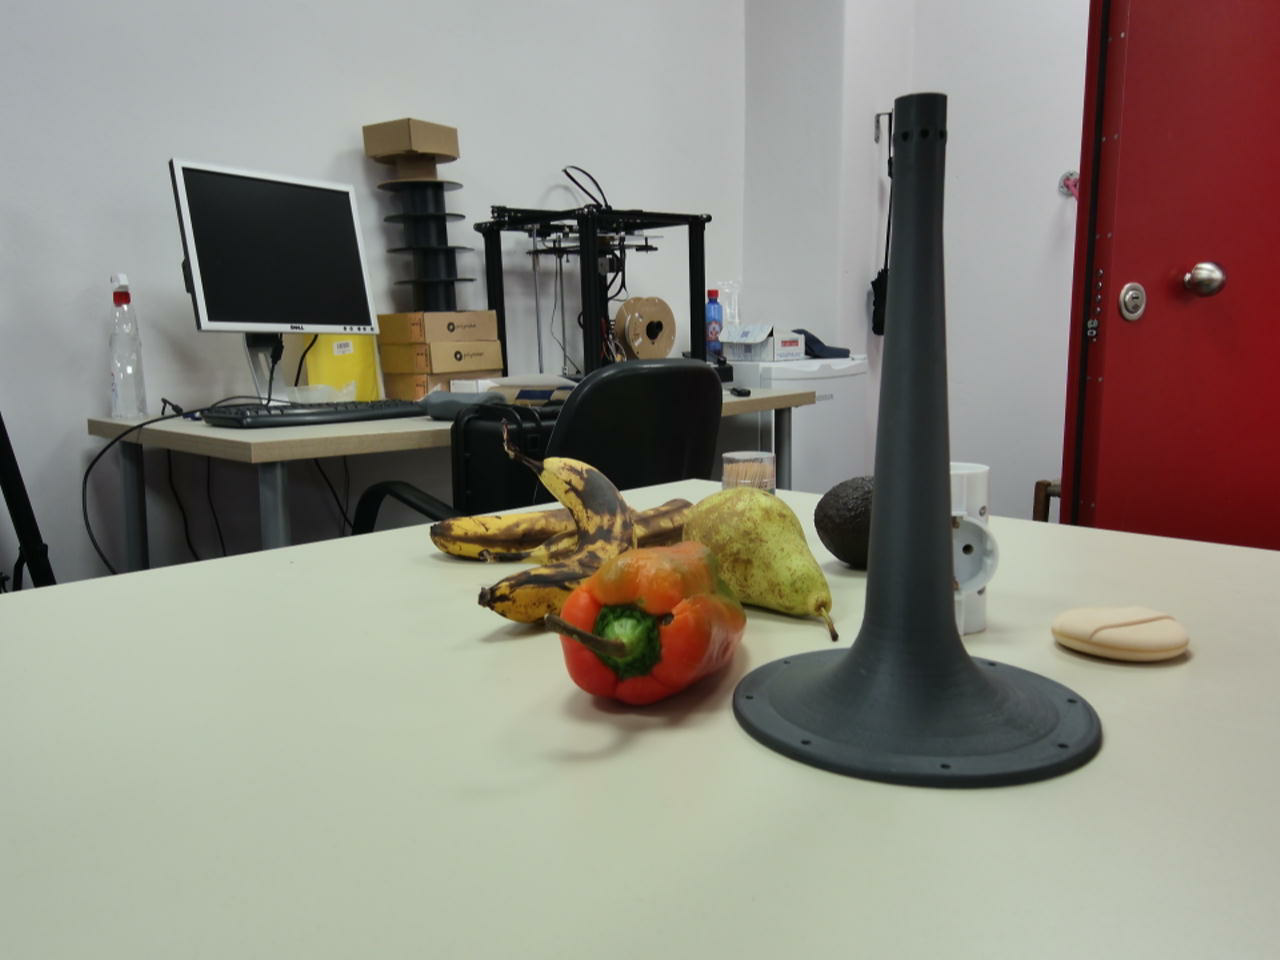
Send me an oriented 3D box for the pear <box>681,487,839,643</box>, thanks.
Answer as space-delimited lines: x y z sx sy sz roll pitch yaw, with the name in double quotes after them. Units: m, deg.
0.081 0.044 0.611 0.128 0.075 0.071 6 8 38 "pear"
